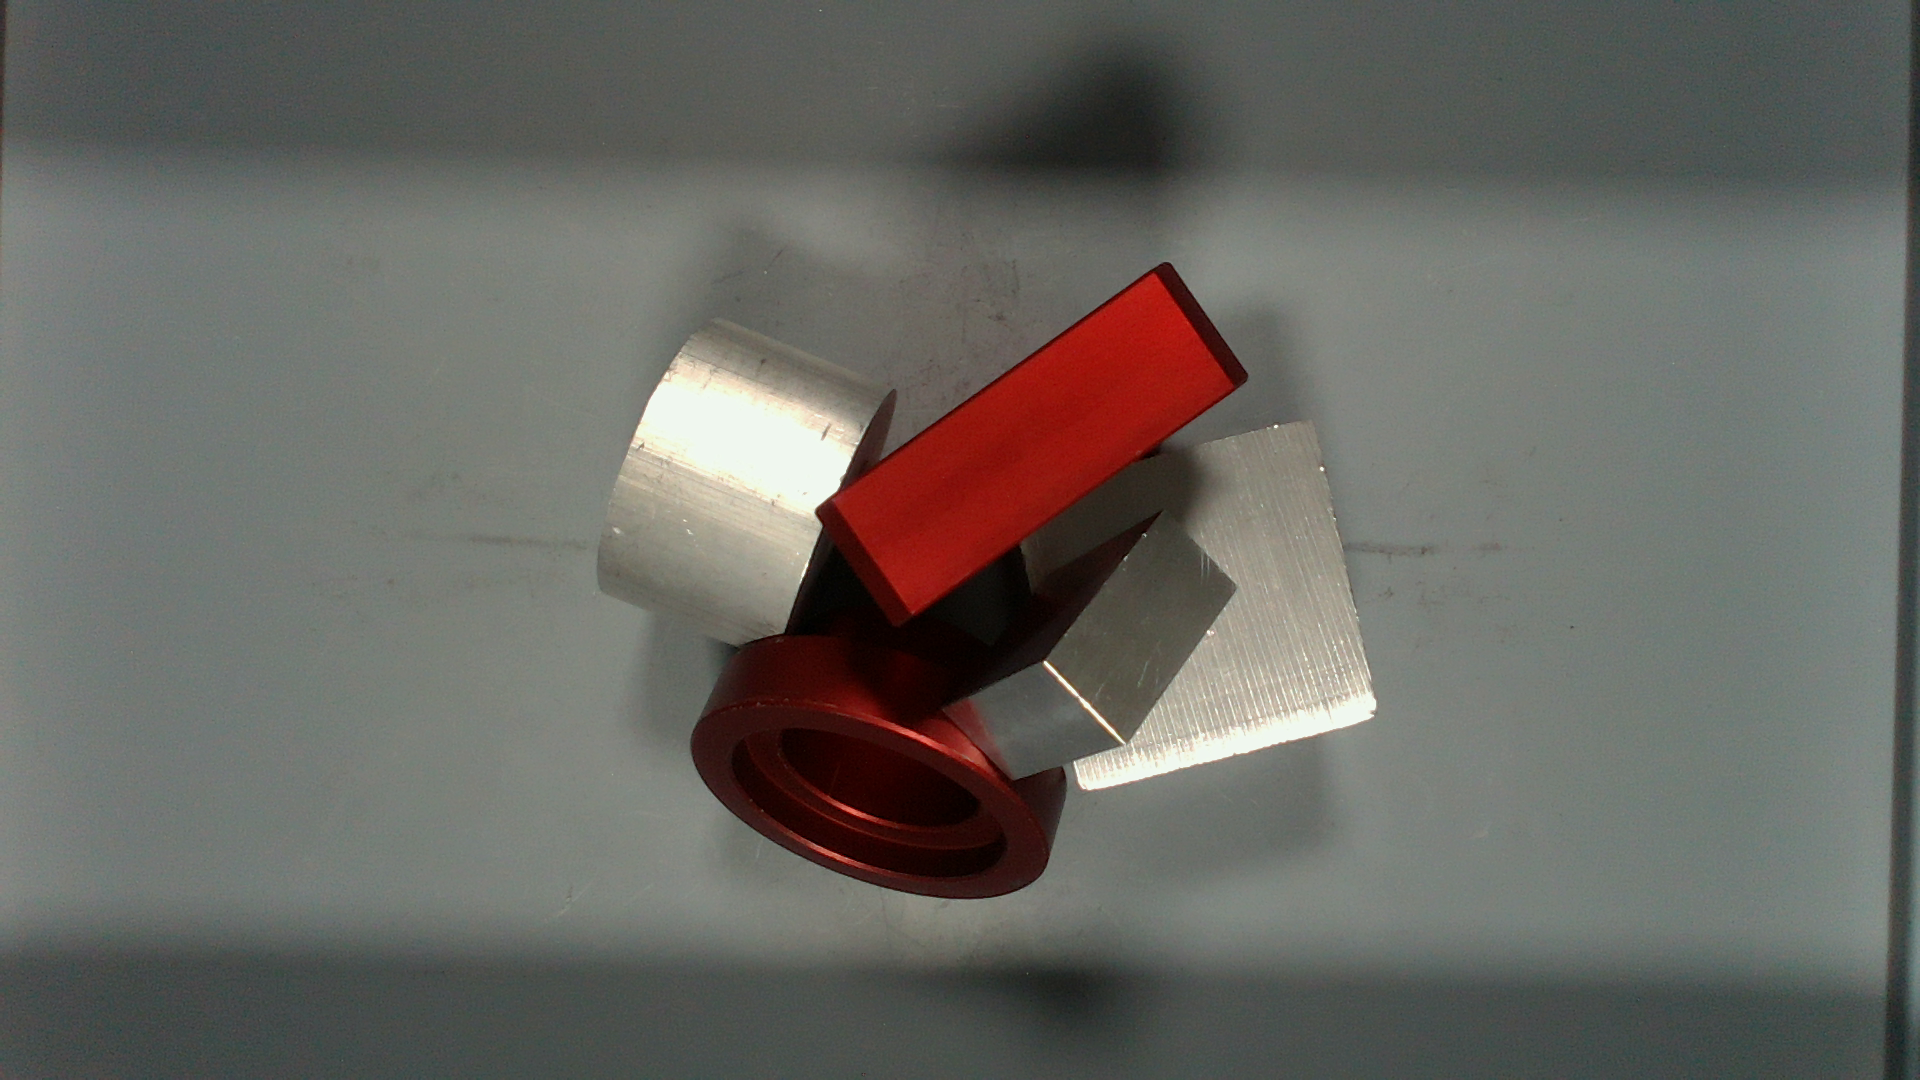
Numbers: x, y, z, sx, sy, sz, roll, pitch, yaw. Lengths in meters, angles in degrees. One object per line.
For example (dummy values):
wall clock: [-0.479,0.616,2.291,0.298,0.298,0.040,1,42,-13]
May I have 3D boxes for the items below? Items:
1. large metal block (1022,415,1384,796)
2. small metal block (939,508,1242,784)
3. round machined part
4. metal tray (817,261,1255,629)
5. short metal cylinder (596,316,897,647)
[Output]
large metal block: [0.060,0.015,0.375,0.080,0.050,0.080,-14,95,0]
small metal block: [0.029,0.025,0.314,0.025,0.050,0.050,46,58,-7]
round machined part: [-0.018,0.054,0.367,0.098,0.098,0.042,20,55,0]
metal tray: [0.015,-0.020,0.341,0.090,0.130,0.030,-35,91,0]
short metal cylinder: [-0.055,-0.013,0.366,0.050,0.080,0.080,22,90,0]
